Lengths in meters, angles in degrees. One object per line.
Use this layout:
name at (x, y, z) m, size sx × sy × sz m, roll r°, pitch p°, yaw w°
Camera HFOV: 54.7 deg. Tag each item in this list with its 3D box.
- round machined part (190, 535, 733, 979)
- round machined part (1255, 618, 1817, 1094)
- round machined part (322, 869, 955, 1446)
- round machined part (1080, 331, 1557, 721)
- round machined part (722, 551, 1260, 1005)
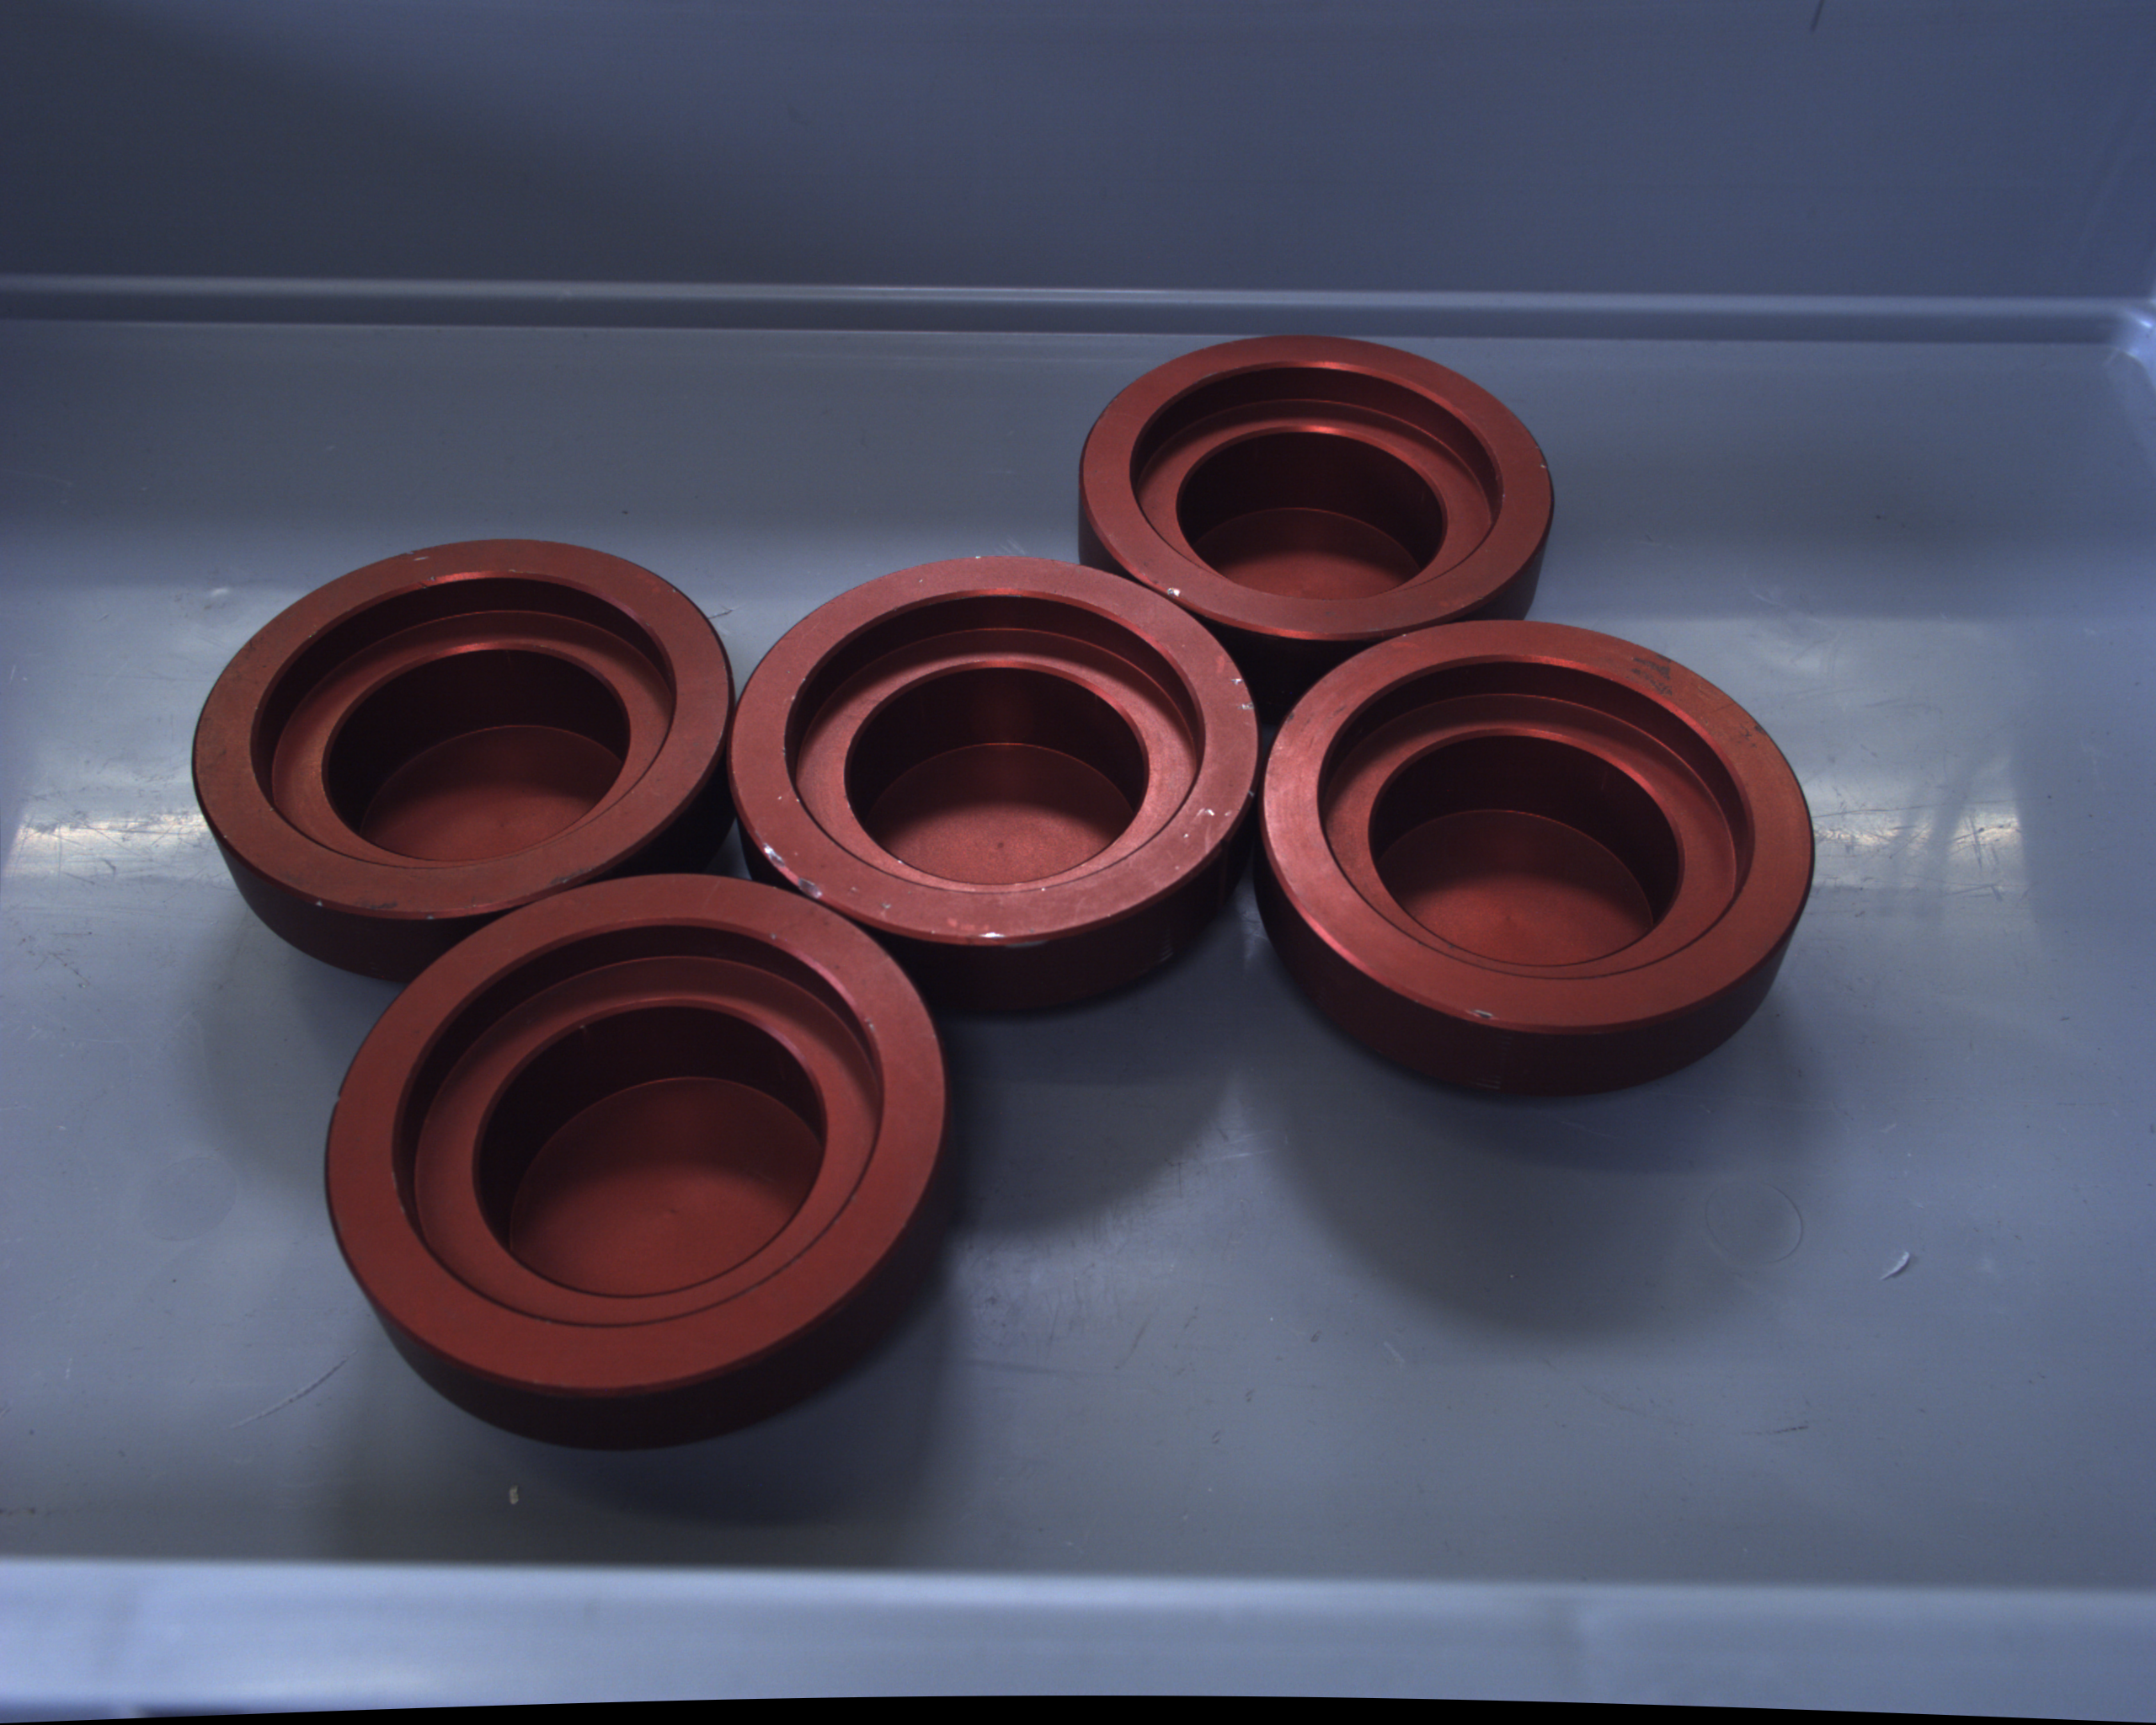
round machined part at (-0.114, -0.016, 0.403) m, size 0.099 × 0.042 × 0.098 m, roll 0°, pitch 50°, yaw 0°
round machined part at (0.082, 0.003, 0.389) m, size 0.099 × 0.042 × 0.098 m, roll 0°, pitch 50°, yaw 0°
round machined part at (-0.069, 0.051, 0.346) m, size 0.099 × 0.042 × 0.098 m, roll 0°, pitch 50°, yaw 0°
round machined part at (0.050, -0.068, 0.448) m, size 0.099 × 0.042 × 0.098 m, roll 0°, pitch 50°, yaw 0°
round machined part at (-0.016, -0.012, 0.399) m, size 0.099 × 0.042 × 0.098 m, roll 0°, pitch 50°, yaw 0°
